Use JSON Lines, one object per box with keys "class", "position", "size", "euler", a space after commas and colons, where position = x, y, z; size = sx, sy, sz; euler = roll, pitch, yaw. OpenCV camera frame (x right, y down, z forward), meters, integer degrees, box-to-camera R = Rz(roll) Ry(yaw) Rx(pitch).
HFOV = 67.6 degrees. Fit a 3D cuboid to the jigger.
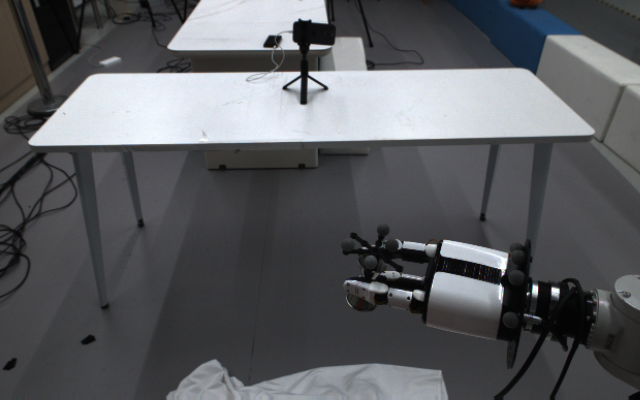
{"class": "jigger", "position": [0.062, 0.109, 0.649], "size": [0.043, 0.071, 0.043], "euler": [9, 30, -6]}
